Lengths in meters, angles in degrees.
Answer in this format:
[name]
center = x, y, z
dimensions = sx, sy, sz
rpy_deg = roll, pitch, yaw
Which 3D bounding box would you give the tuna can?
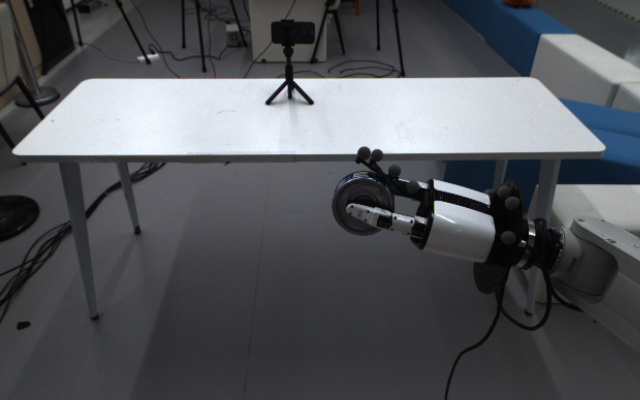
[tuna can]
center = 0.063, 0.011, 0.662
dimensions = 0.085, 0.085, 0.034
rpy_deg = 7, 19, 6
